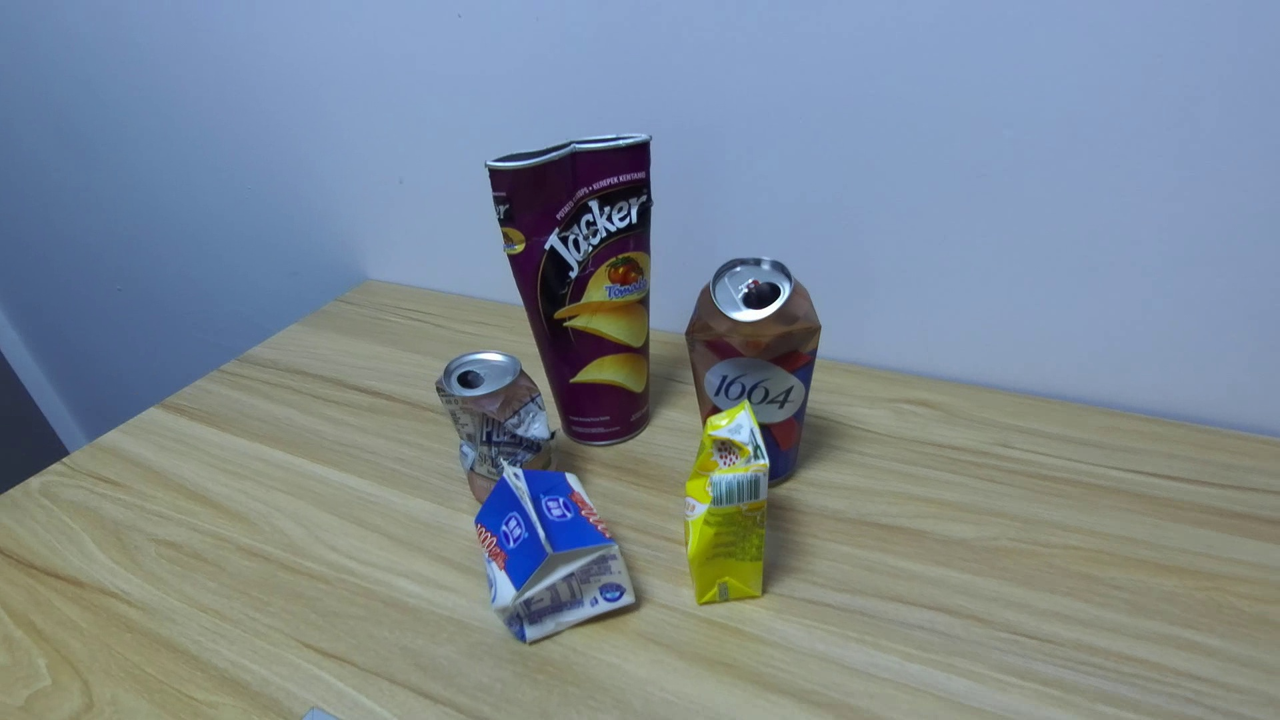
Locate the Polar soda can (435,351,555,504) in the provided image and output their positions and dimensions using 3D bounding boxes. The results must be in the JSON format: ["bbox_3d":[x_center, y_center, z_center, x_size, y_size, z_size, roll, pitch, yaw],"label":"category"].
[{"bbox_3d":[-0.100,0.052,0.512,0.074,0.114,0.070,-14,38,-7],"label":"Polar soda can"}]

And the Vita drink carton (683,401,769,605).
[{"bbox_3d":[0.049,0.087,0.431,0.046,0.110,0.071,-5,32,-1],"label":"Vita drink carton"}]

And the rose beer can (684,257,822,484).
[{"bbox_3d":[0.079,0.011,0.491,0.069,0.168,0.069,-22,40,-17],"label":"rose beer can"}]

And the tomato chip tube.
[{"bbox_3d":[-0.040,-0.046,0.541,0.090,0.236,0.078,14,38,25],"label":"tomato chip tube"}]

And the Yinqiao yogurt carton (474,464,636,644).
[{"bbox_3d":[-0.059,0.112,0.424,0.080,0.097,0.074,-25,36,-14],"label":"Yinqiao yogurt carton"}]
